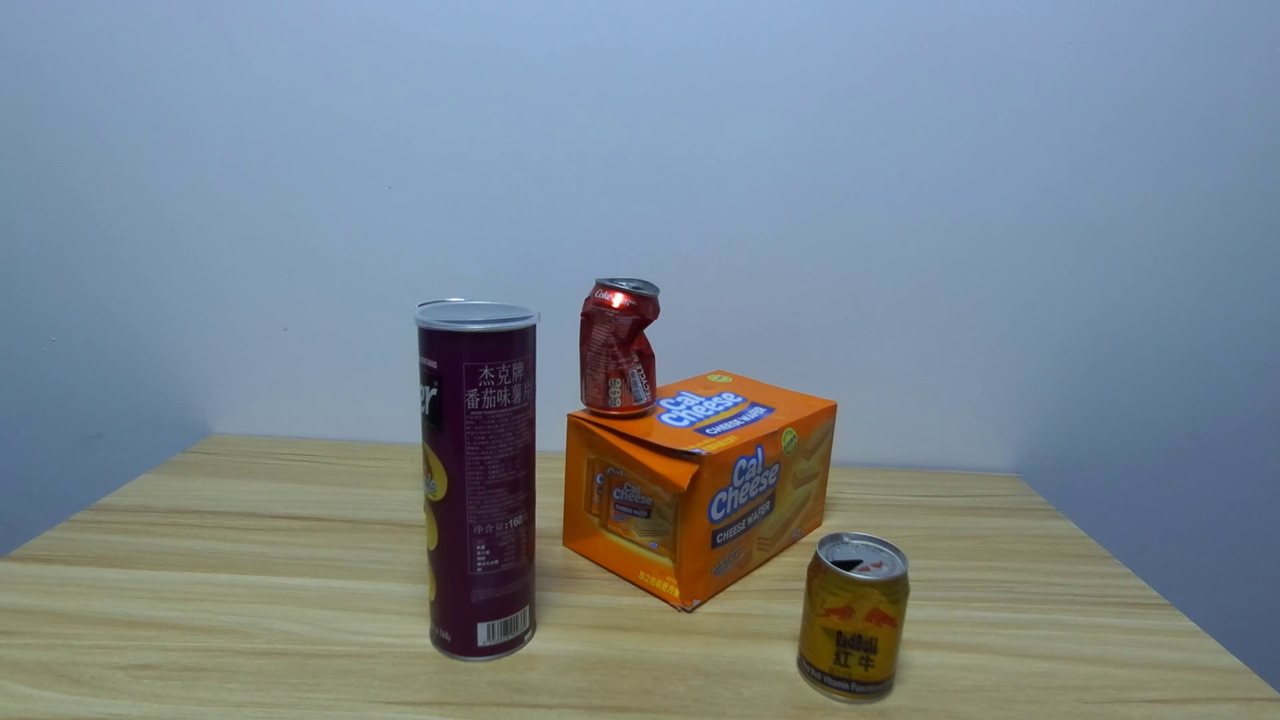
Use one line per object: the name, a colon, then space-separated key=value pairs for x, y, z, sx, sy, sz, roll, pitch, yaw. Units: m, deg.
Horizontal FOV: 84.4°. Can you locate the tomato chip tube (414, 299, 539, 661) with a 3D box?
tomato chip tube: x=-0.108 y=0.083 z=0.485 sx=0.078 sy=0.233 sz=0.078 roll=2 pitch=15 yaw=0

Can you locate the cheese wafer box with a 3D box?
cheese wafer box: x=0.059 y=0.100 z=0.644 sx=0.149 sy=0.137 sz=0.228 roll=16 pitch=20 yaw=40

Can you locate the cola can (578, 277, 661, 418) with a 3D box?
cola can: x=-0.016 y=-0.011 z=0.594 sx=0.069 sy=0.112 sz=0.065 roll=-5 pitch=15 yaw=-27

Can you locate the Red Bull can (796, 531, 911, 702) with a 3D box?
Red Bull can: x=0.143 y=0.170 z=0.474 sx=0.069 sy=0.092 sz=0.069 roll=3 pitch=16 yaw=0
